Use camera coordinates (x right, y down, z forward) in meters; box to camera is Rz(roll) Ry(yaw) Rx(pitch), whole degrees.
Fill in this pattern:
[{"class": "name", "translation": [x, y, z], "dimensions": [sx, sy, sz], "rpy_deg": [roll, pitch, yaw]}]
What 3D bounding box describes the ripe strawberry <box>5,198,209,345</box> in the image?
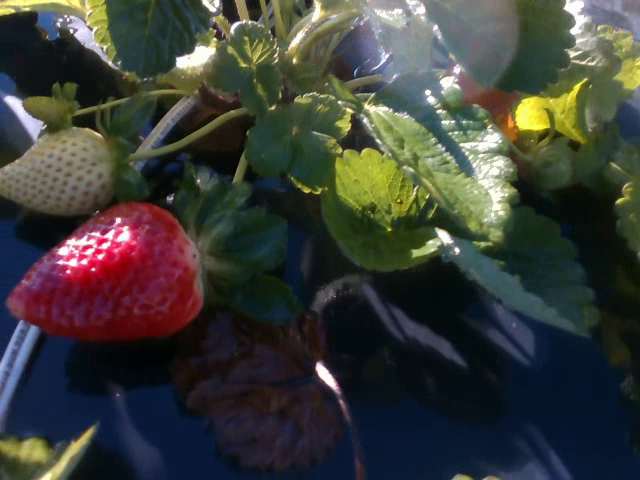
[{"class": "ripe strawberry", "translation": [-0.067, 0.011, 0.208], "dimensions": [0.080, 0.063, 0.040], "rpy_deg": [-17, -2, -39]}]
